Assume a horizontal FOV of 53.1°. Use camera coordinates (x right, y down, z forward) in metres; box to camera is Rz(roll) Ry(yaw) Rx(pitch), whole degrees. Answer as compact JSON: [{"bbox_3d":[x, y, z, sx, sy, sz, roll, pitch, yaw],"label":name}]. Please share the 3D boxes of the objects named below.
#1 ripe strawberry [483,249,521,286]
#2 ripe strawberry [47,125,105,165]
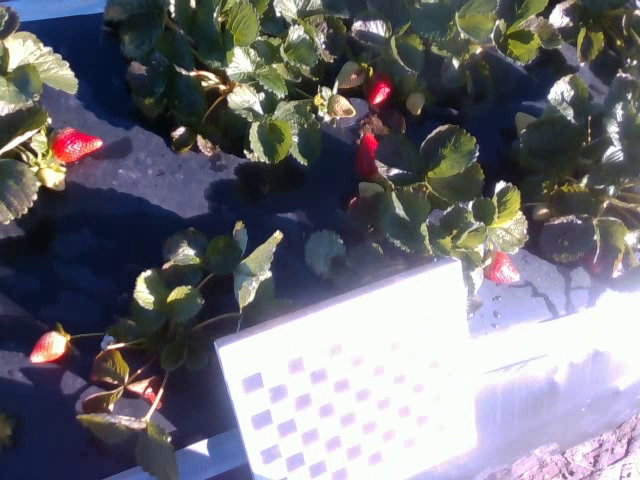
[{"bbox_3d":[0.239,0.045,0.814,0.054,0.048,0.029,30,3,-28],"label":"ripe strawberry"},{"bbox_3d":[-0.281,-0.111,0.729,0.064,0.049,0.052,-7,20,-12],"label":"ripe strawberry"}]
